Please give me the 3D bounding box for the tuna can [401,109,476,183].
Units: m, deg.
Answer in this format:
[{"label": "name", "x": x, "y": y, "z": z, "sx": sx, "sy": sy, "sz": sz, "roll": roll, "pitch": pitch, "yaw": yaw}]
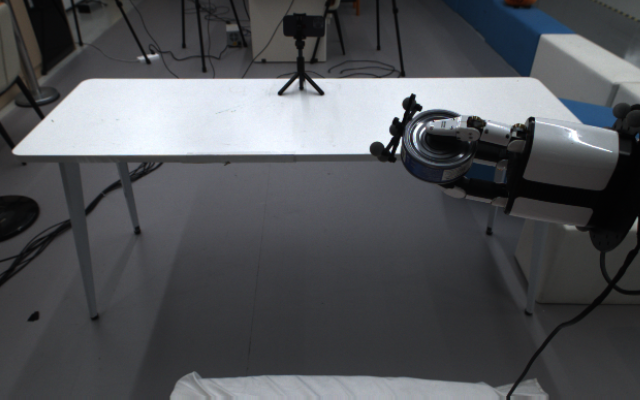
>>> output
[{"label": "tuna can", "x": 0.138, "y": -0.066, "z": 0.563, "sx": 0.085, "sy": 0.034, "sz": 0.085, "roll": -1, "pitch": 59, "yaw": 2}]
